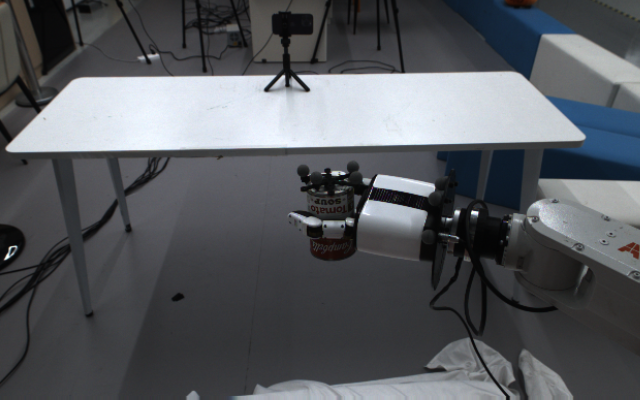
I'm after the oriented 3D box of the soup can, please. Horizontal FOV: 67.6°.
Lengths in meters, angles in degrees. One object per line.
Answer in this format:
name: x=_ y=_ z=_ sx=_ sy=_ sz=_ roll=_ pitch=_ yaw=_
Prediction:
soup can: x=0.018 y=0.024 z=0.676 sx=0.067 sy=0.101 sz=0.067 roll=-4 pitch=26 yaw=2
